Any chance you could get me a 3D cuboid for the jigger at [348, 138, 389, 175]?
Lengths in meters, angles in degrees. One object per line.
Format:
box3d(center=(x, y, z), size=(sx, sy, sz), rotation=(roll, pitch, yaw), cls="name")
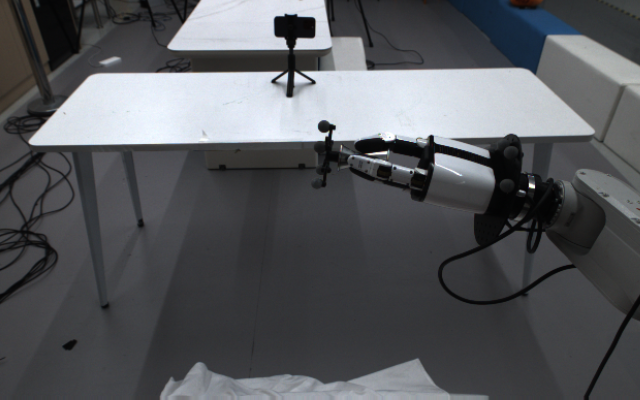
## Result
box3d(center=(0.068, -0.058, 0.681), size=(0.071, 0.043, 0.043), rotation=(8, 35, 5), cls="jigger")
